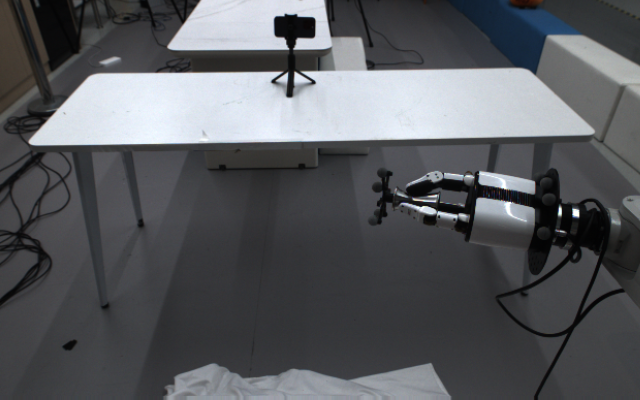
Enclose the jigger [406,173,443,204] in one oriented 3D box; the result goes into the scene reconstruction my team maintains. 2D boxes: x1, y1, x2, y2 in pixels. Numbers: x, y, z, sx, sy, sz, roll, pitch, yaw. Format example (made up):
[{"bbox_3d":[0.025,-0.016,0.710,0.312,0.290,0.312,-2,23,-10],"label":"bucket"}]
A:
[{"bbox_3d":[0.156,0.000,0.755,0.071,0.043,0.043,9,35,17],"label":"jigger"}]
